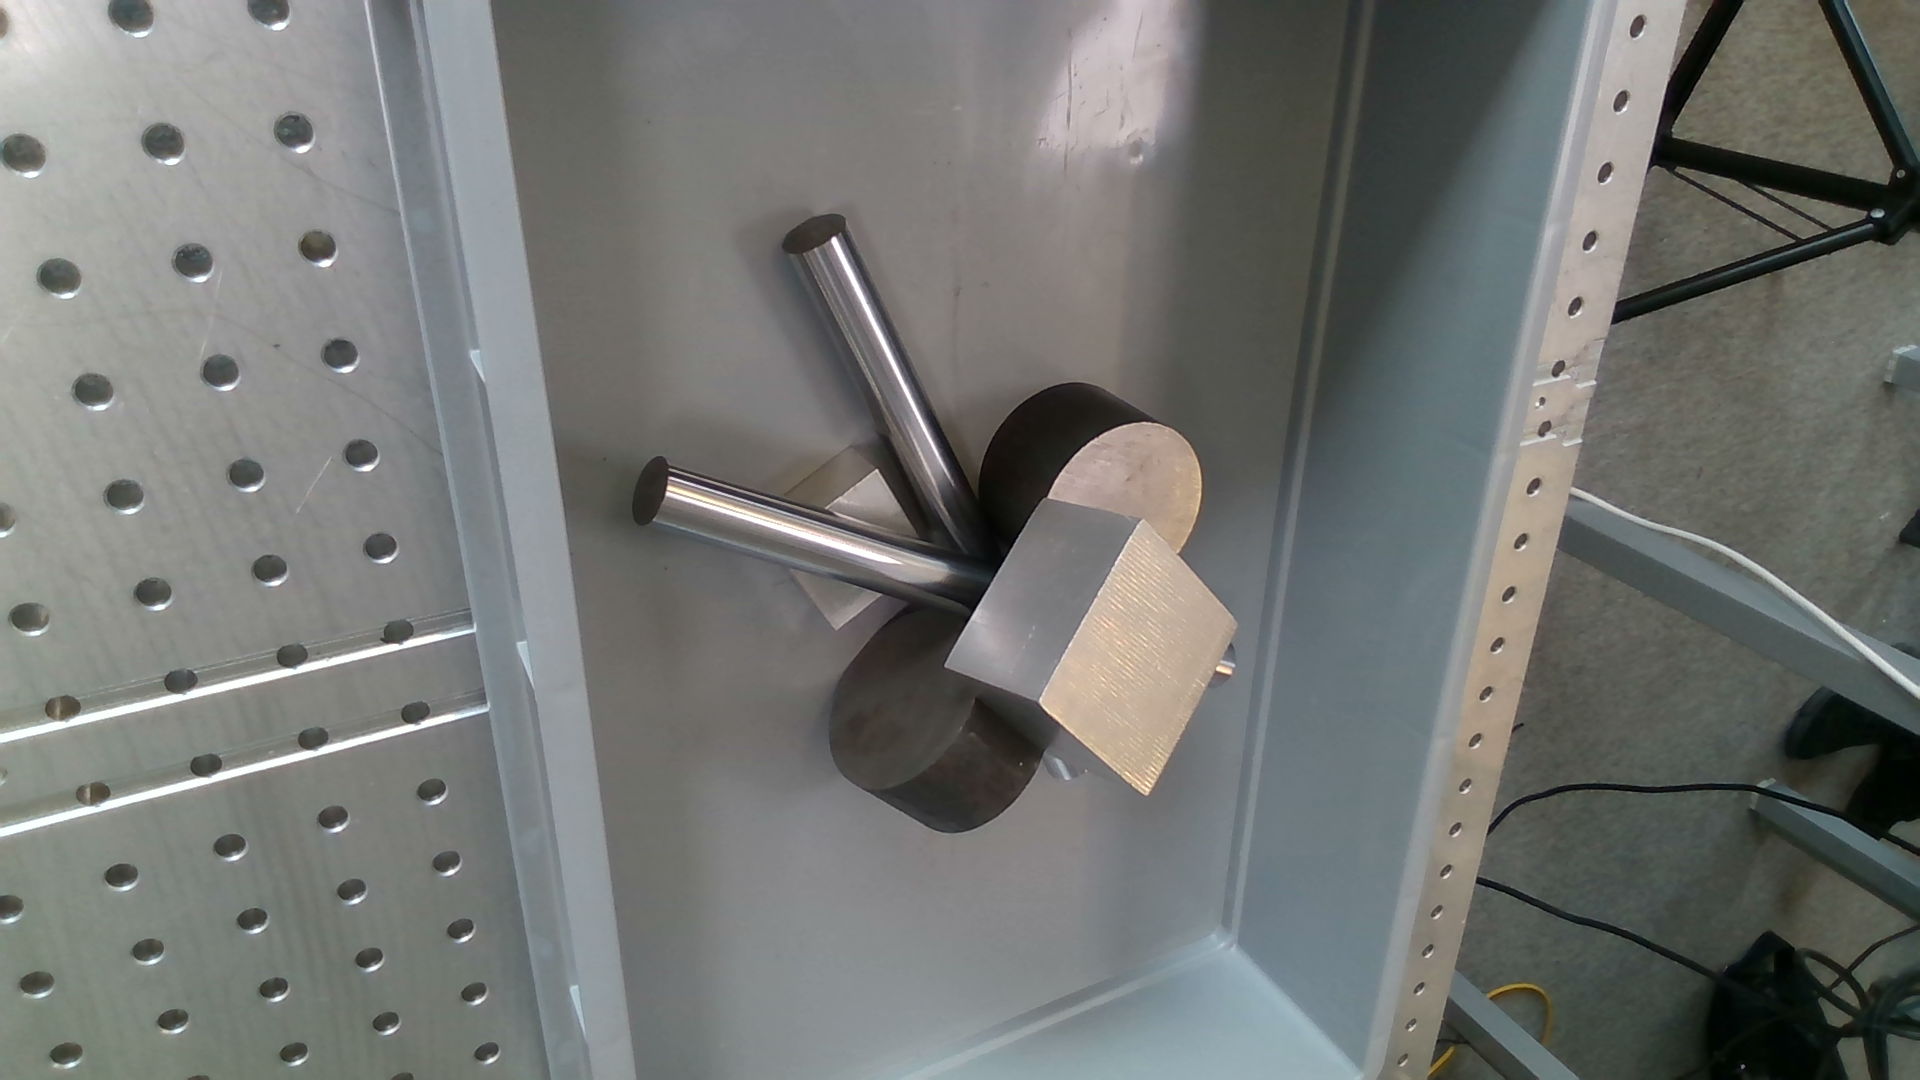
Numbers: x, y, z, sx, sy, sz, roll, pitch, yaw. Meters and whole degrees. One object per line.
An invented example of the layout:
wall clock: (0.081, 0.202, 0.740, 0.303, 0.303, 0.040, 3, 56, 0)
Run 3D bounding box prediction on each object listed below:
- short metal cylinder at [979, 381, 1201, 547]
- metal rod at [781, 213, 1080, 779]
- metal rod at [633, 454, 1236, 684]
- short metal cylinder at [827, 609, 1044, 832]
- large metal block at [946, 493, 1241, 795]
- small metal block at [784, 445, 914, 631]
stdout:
short metal cylinder: (0.055, -0.021, 0.586, 0.080, 0.050, 0.080, -14, 122, -25)
metal rod: (0.001, -0.001, 0.580, 0.025, 0.025, 0.301, -35, 128, -11)
metal rod: (0.007, 0.019, 0.563, 0.300, 0.025, 0.025, 18, 104, -37)
short metal cylinder: (-0.009, 0.076, 0.580, 0.080, 0.080, 0.050, -50, 128, 1)
large metal block: (0.054, 0.040, 0.537, 0.080, 0.050, 0.080, 43, 71, -39)
small metal block: (-0.047, -0.001, 0.551, 0.050, 0.025, 0.050, -38, 129, -8)
